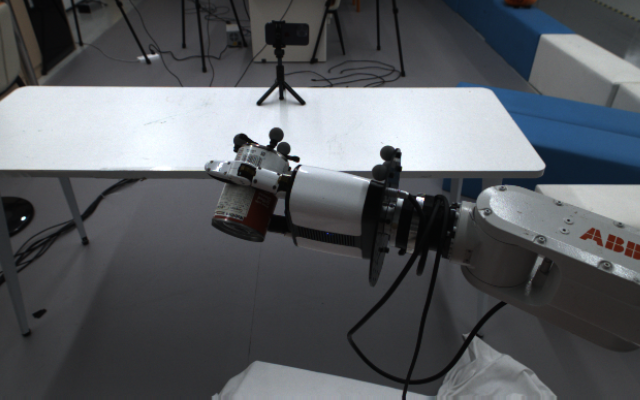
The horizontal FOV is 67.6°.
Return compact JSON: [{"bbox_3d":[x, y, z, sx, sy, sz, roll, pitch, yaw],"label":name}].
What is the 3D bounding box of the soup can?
[{"bbox_3d":[-0.083,-0.009,0.585,0.067,0.067,0.101,12,70,14],"label":"soup can"}]
